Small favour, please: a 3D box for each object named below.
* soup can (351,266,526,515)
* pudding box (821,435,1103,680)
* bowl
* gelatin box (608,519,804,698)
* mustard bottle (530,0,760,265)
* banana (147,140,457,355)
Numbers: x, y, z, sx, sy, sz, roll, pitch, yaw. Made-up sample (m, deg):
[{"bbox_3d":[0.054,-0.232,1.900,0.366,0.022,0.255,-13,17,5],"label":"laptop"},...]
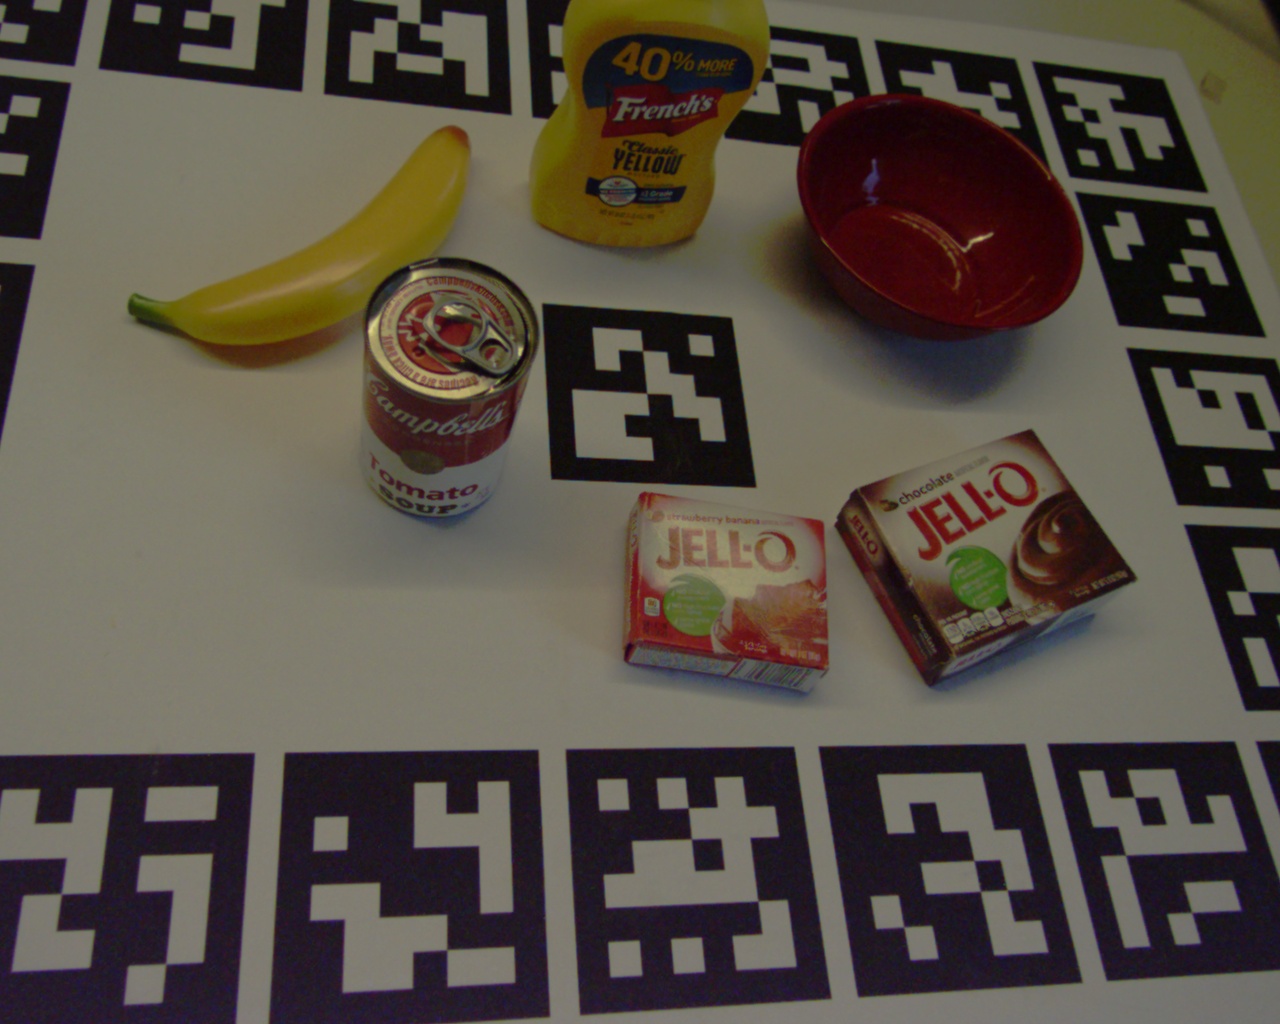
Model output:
[{"bbox_3d":[-0.093,-0.051,0.509,0.067,0.102,0.068,7,60,-13],"label":"soup can"},{"bbox_3d":[0.162,0.022,0.580,0.113,0.039,0.090,-22,75,-23],"label":"pudding box"},{"bbox_3d":[0.153,-0.149,0.663,0.161,0.055,0.162,5,61,-10],"label":"bowl"},{"bbox_3d":[0.032,0.045,0.540,0.089,0.030,0.073,8,64,-9],"label":"gelatin box"},{"bbox_3d":[0.006,-0.206,0.562,0.095,0.192,0.059,2,60,-14],"label":"mustard bottle"},{"bbox_3d":[-0.153,-0.134,0.586,0.075,0.039,0.196,33,59,16],"label":"banana"}]
